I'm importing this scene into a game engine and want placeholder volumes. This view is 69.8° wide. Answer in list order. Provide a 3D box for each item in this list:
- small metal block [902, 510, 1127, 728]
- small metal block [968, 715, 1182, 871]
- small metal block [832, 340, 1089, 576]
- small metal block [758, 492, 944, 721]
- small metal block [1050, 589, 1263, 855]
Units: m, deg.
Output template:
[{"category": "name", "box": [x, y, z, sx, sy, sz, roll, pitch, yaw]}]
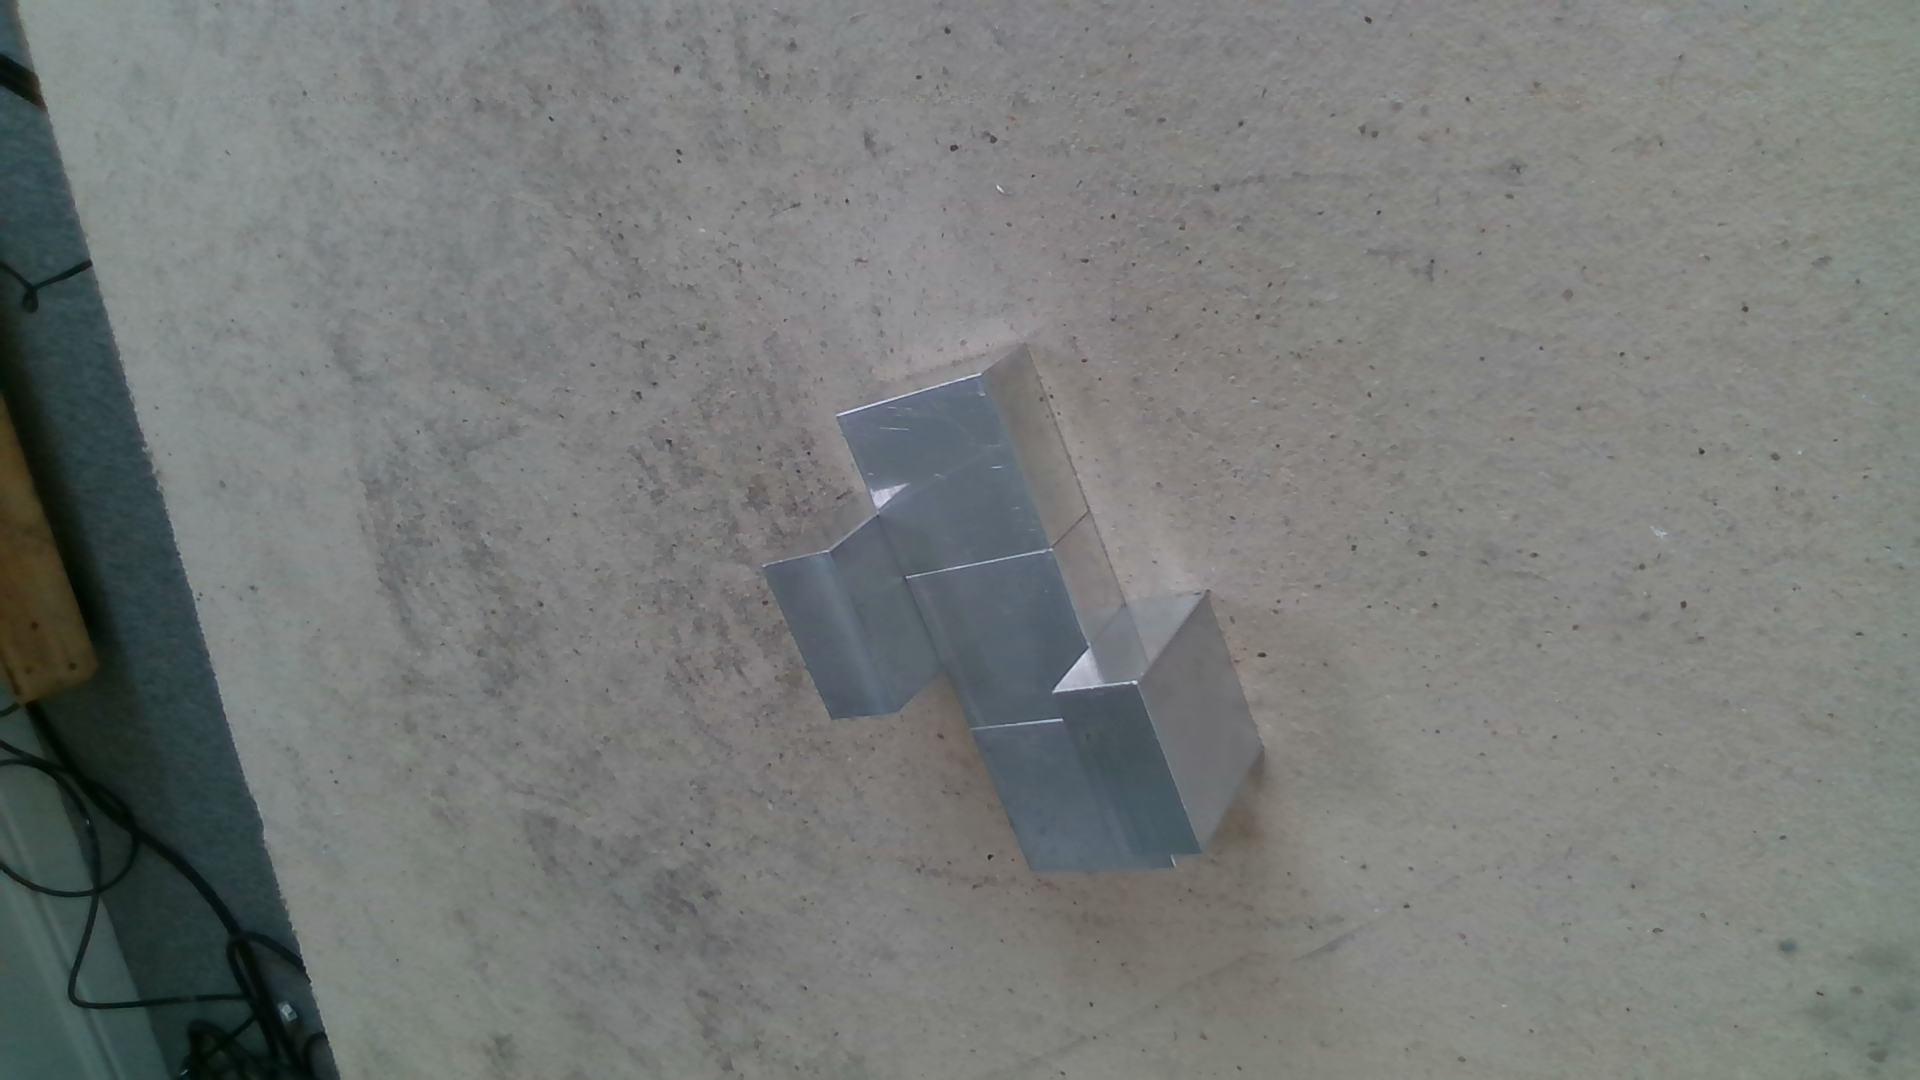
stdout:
[{"category": "small metal block", "box": [0.019, 0.023, 0.390, 0.050, 0.025, 0.050, -11, 109, 36]}, {"category": "small metal block", "box": [0.037, 0.068, 0.403, 0.050, 0.025, 0.050, -11, 109, 36]}, {"category": "small metal block", "box": [0.000, -0.021, 0.376, 0.050, 0.025, 0.050, -11, 109, 36]}, {"category": "small metal block", "box": [-0.024, 0.017, 0.397, 0.025, 0.050, 0.050, -12, 108, 35]}, {"category": "small metal block", "box": [0.054, 0.048, 0.366, 0.025, 0.050, 0.050, -11, 108, 35]}]
